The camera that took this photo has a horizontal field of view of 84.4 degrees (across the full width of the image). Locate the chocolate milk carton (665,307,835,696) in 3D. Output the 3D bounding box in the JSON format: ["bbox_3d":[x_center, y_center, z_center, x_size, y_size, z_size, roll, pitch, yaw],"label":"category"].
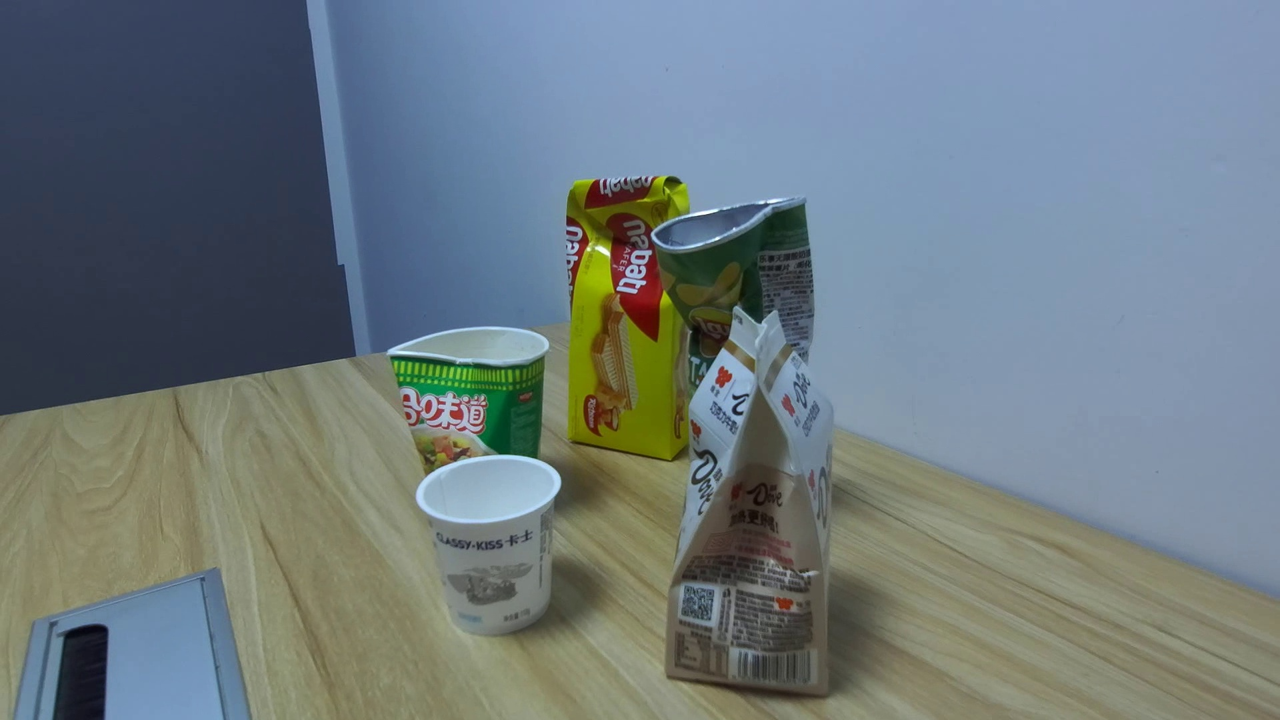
[{"bbox_3d":[0.054,0.063,0.330,0.073,0.155,0.084,3,18,12],"label":"chocolate milk carton"}]

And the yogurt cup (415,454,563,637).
[{"bbox_3d":[-0.073,0.094,0.357,0.072,0.068,0.072,-1,18,1],"label":"yogurt cup"}]

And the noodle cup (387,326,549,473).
[{"bbox_3d":[-0.100,0.042,0.461,0.093,0.109,0.087,13,22,38],"label":"noodle cup"}]

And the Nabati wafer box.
[{"bbox_3d":[-0.010,-0.031,0.531,0.113,0.205,0.043,6,16,27],"label":"Nabati wafer box"}]

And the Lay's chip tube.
[{"bbox_3d":[0.055,0.006,0.423,0.078,0.199,0.071,11,27,35],"label":"Lay's chip tube"}]
